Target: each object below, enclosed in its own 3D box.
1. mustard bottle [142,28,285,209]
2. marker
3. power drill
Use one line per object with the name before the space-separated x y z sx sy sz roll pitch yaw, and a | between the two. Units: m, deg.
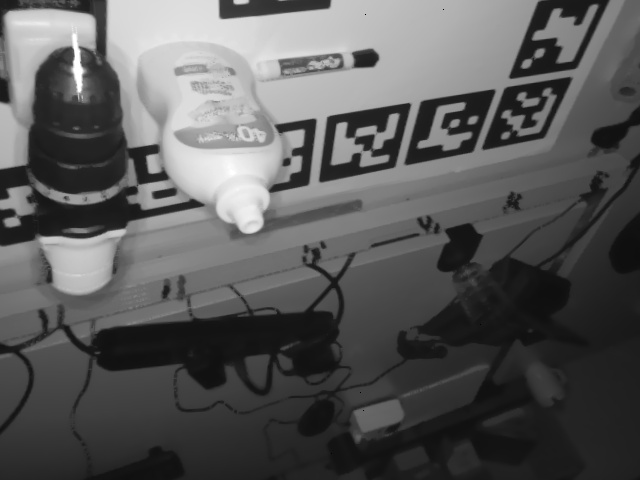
mustard bottle | -0.082 -0.098 0.567 0.097 0.191 0.057 -4 139 -26
marker | 0.006 -0.180 0.666 0.122 0.019 0.019 -11 141 -20
power drill | -0.168 -0.106 0.476 0.058 0.187 0.181 -1 140 -27
